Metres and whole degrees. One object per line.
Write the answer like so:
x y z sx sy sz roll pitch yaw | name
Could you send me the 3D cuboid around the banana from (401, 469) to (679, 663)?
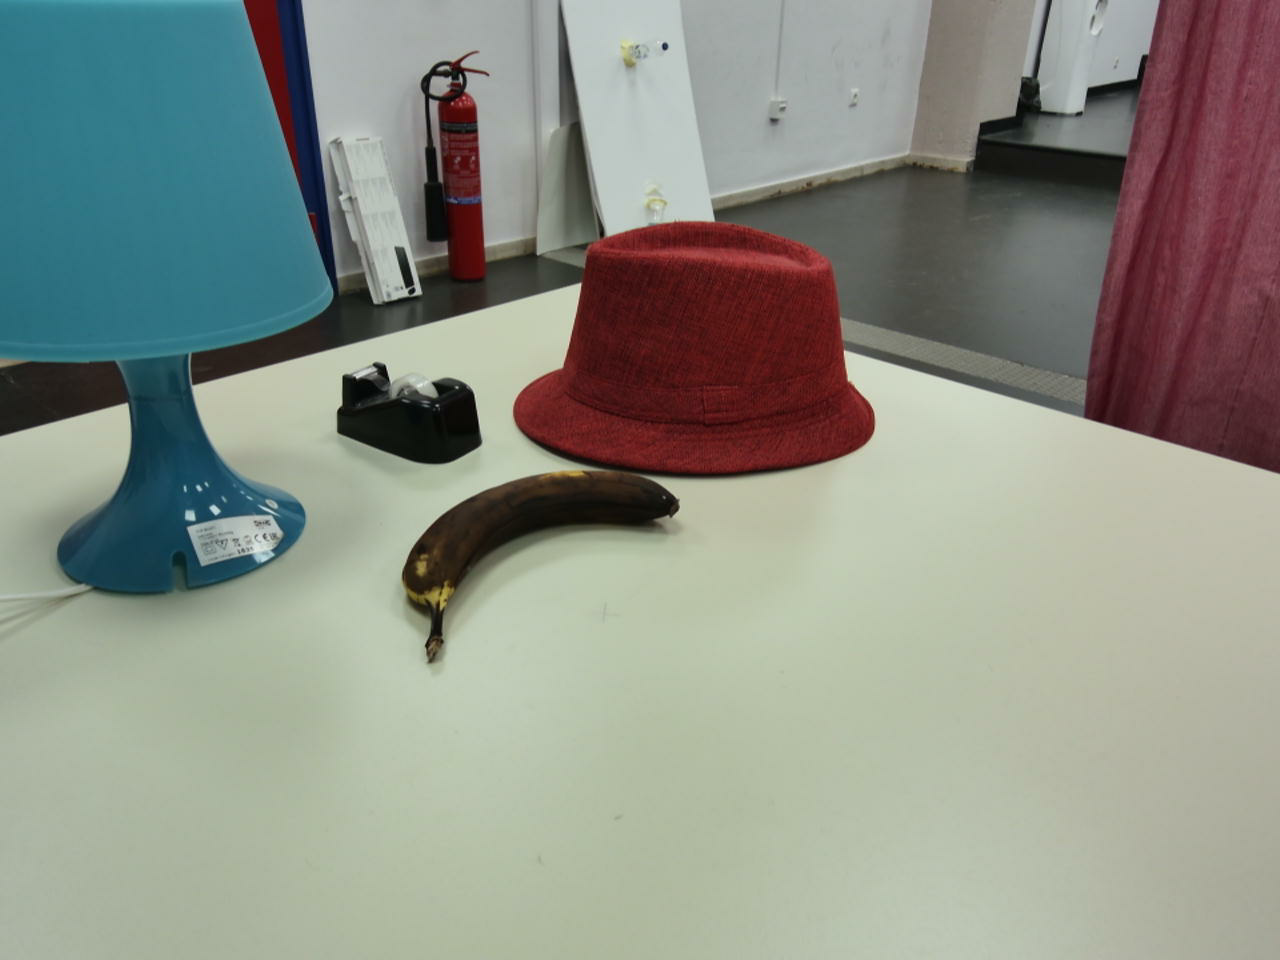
-0.067 0.030 0.562 0.091 0.034 0.188 23 33 38 | banana
